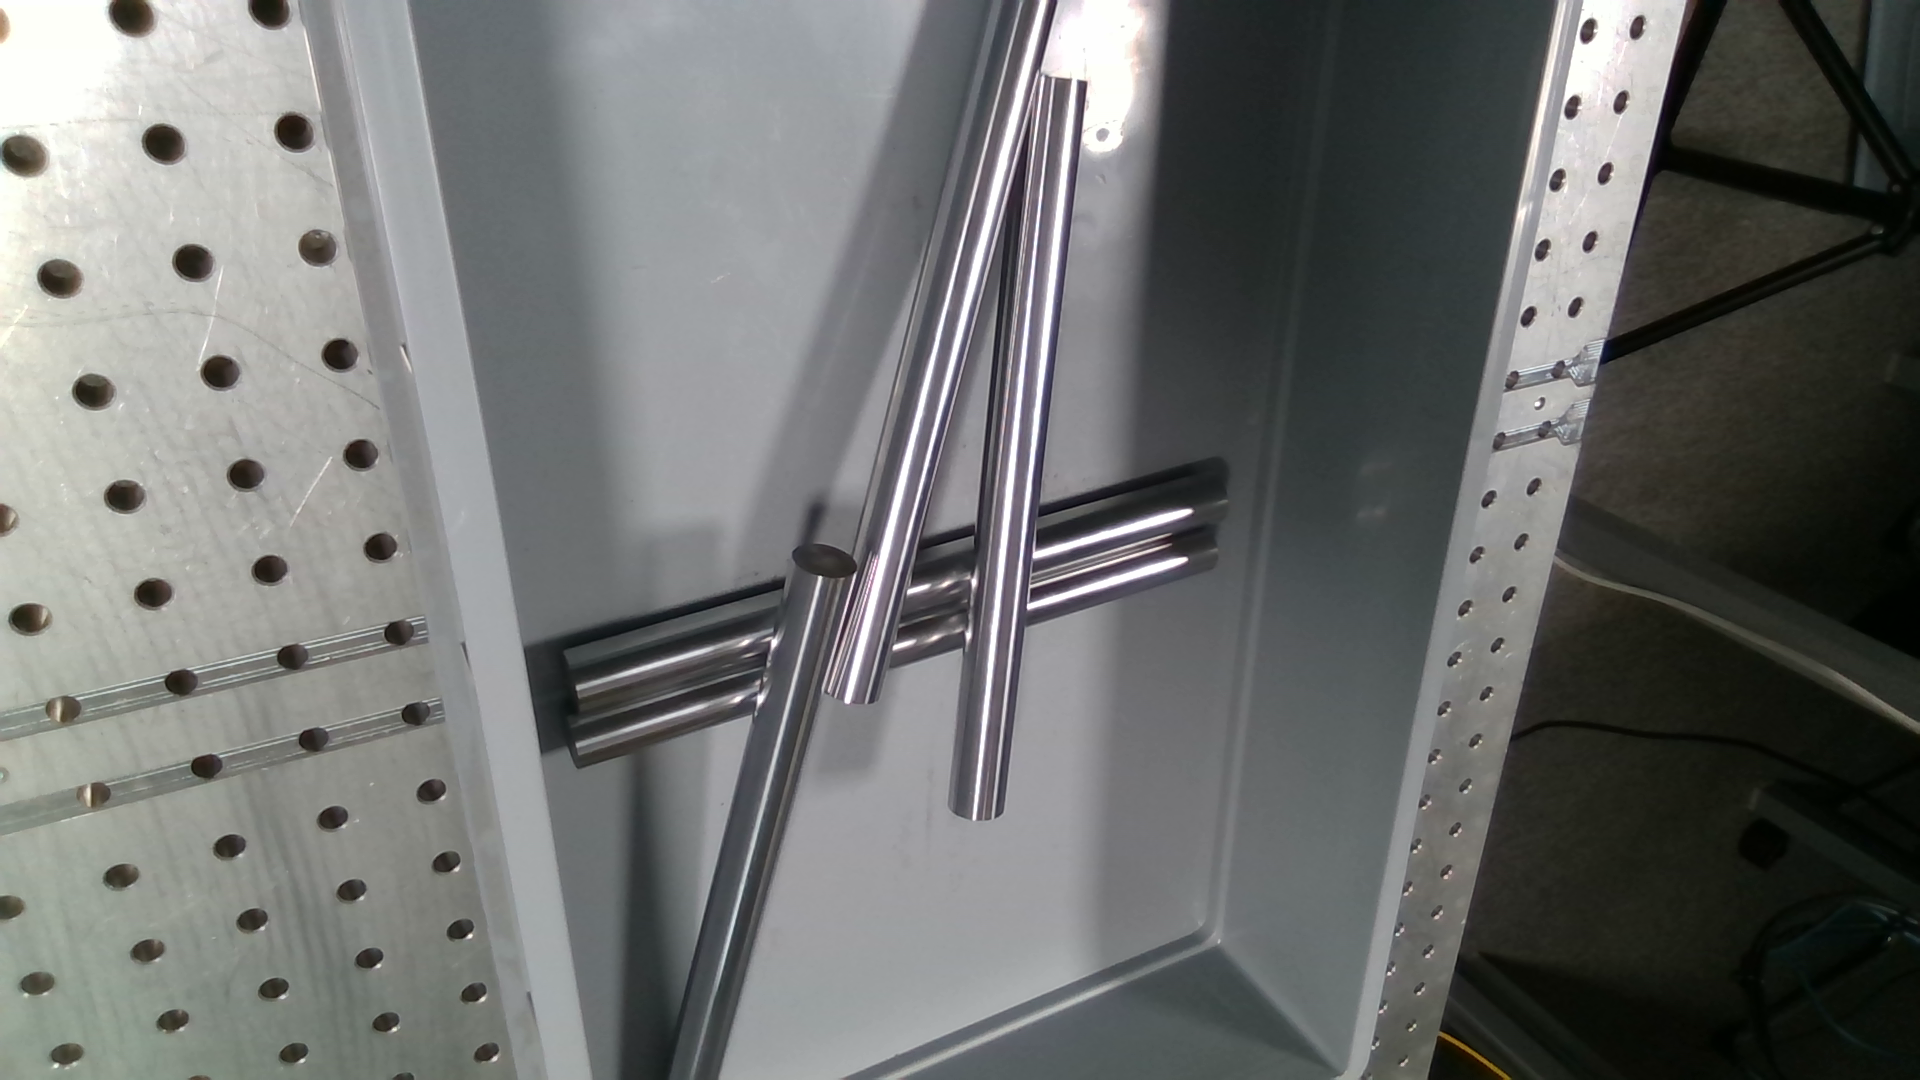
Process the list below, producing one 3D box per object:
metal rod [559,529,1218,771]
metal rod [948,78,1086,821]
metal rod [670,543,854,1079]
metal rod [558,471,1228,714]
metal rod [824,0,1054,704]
[{"bbox_3d":[-0.018,0.040,0.588,0.300,0.025,0.025,-15,122,-24],"label":"metal rod"},{"bbox_3d":[0.021,-0.027,0.552,0.025,0.025,0.301,-5,110,-30],"label":"metal rod"},{"bbox_3d":[-0.089,0.137,0.577,0.025,0.025,0.301,-1,121,-31],"label":"metal rod"},{"bbox_3d":[-0.015,0.017,0.577,0.300,0.025,0.025,-15,122,-24],"label":"metal rod"},{"bbox_3d":[-0.008,-0.081,0.514,0.025,0.025,0.300,5,106,-34],"label":"metal rod"}]
